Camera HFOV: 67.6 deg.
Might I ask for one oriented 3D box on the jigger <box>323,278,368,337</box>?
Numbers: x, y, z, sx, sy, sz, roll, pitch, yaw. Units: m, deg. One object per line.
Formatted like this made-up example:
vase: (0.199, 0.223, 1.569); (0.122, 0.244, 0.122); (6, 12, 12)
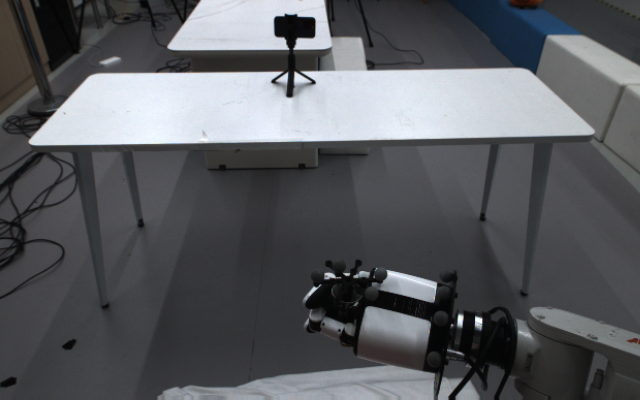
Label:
jigger: (0.036, 0.143, 0.640); (0.043, 0.071, 0.043); (4, 31, -2)
